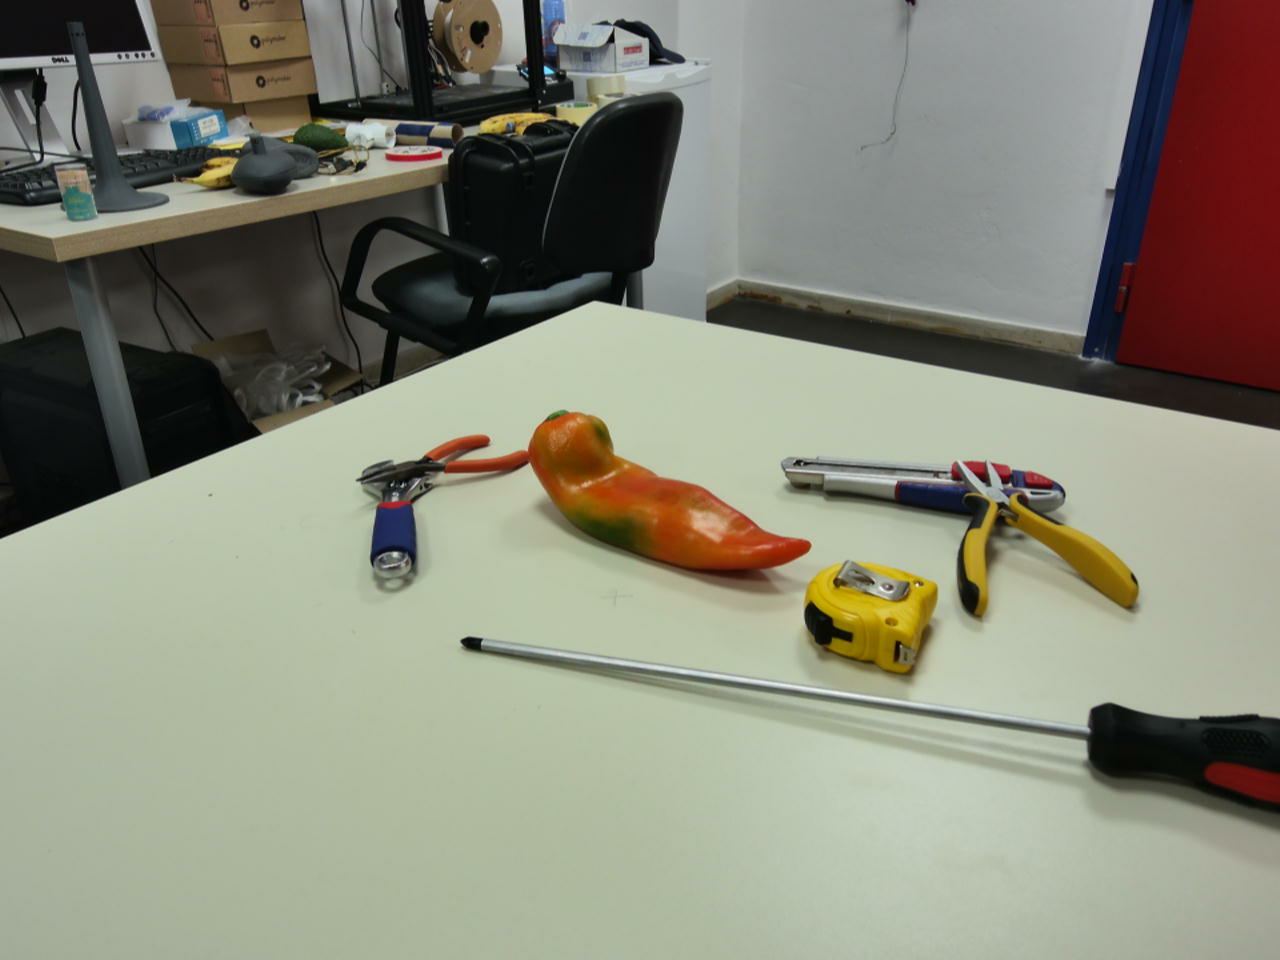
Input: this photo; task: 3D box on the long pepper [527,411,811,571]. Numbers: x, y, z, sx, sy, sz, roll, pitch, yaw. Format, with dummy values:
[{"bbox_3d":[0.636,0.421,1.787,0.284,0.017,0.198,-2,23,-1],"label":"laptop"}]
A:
[{"bbox_3d":[0.012,0.007,0.598,0.199,0.065,0.066,20,32,37],"label":"long pepper"}]
